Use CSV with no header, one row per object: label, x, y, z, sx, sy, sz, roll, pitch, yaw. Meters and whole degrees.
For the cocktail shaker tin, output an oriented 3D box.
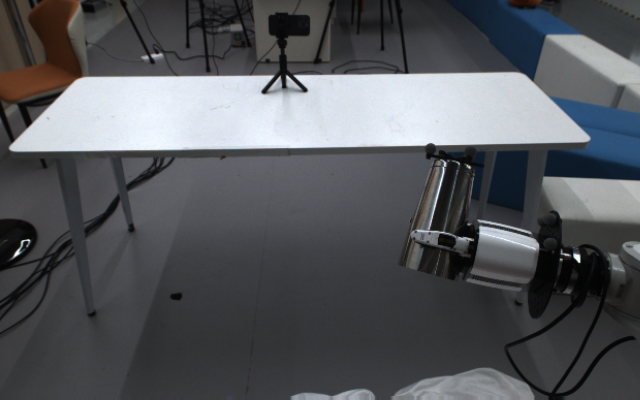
cocktail shaker tin,0.183,0.028,0.741,0.093,0.170,0.093,15,-4,1
